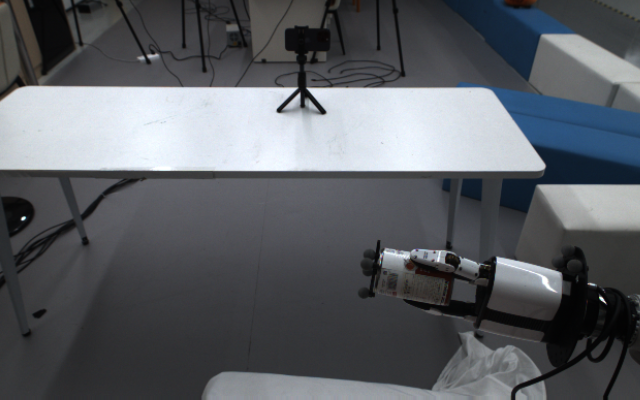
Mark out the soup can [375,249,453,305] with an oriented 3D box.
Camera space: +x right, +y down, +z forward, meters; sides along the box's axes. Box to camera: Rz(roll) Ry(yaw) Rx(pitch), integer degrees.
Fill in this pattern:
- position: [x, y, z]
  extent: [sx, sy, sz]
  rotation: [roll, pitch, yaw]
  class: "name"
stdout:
- position: [0.135, 0.106, 0.679]
  extent: [0.101, 0.067, 0.067]
  rotation: [9, 35, 9]
  class: "soup can"
